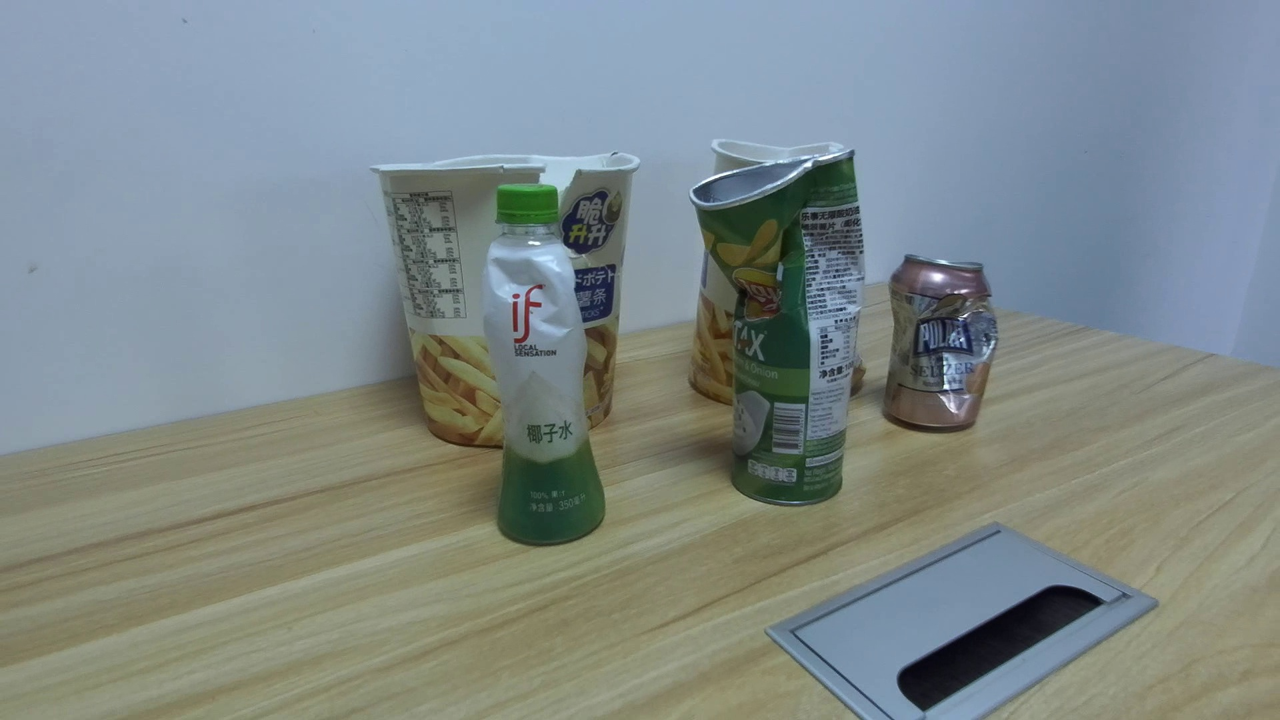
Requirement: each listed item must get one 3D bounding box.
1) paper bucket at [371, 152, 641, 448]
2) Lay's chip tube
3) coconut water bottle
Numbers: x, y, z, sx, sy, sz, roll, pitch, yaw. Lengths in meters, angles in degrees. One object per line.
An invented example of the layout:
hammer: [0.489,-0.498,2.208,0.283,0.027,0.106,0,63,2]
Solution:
paper bucket: [-0.094,-0.052,0.530,0.202,0.197,0.146,3,22,16]
Lay's chip tube: [0.080,-0.013,0.404,0.071,0.199,0.078,-27,28,-34]
coconut water bottle: [-0.053,0.003,0.382,0.067,0.187,0.067,-1,16,1]
